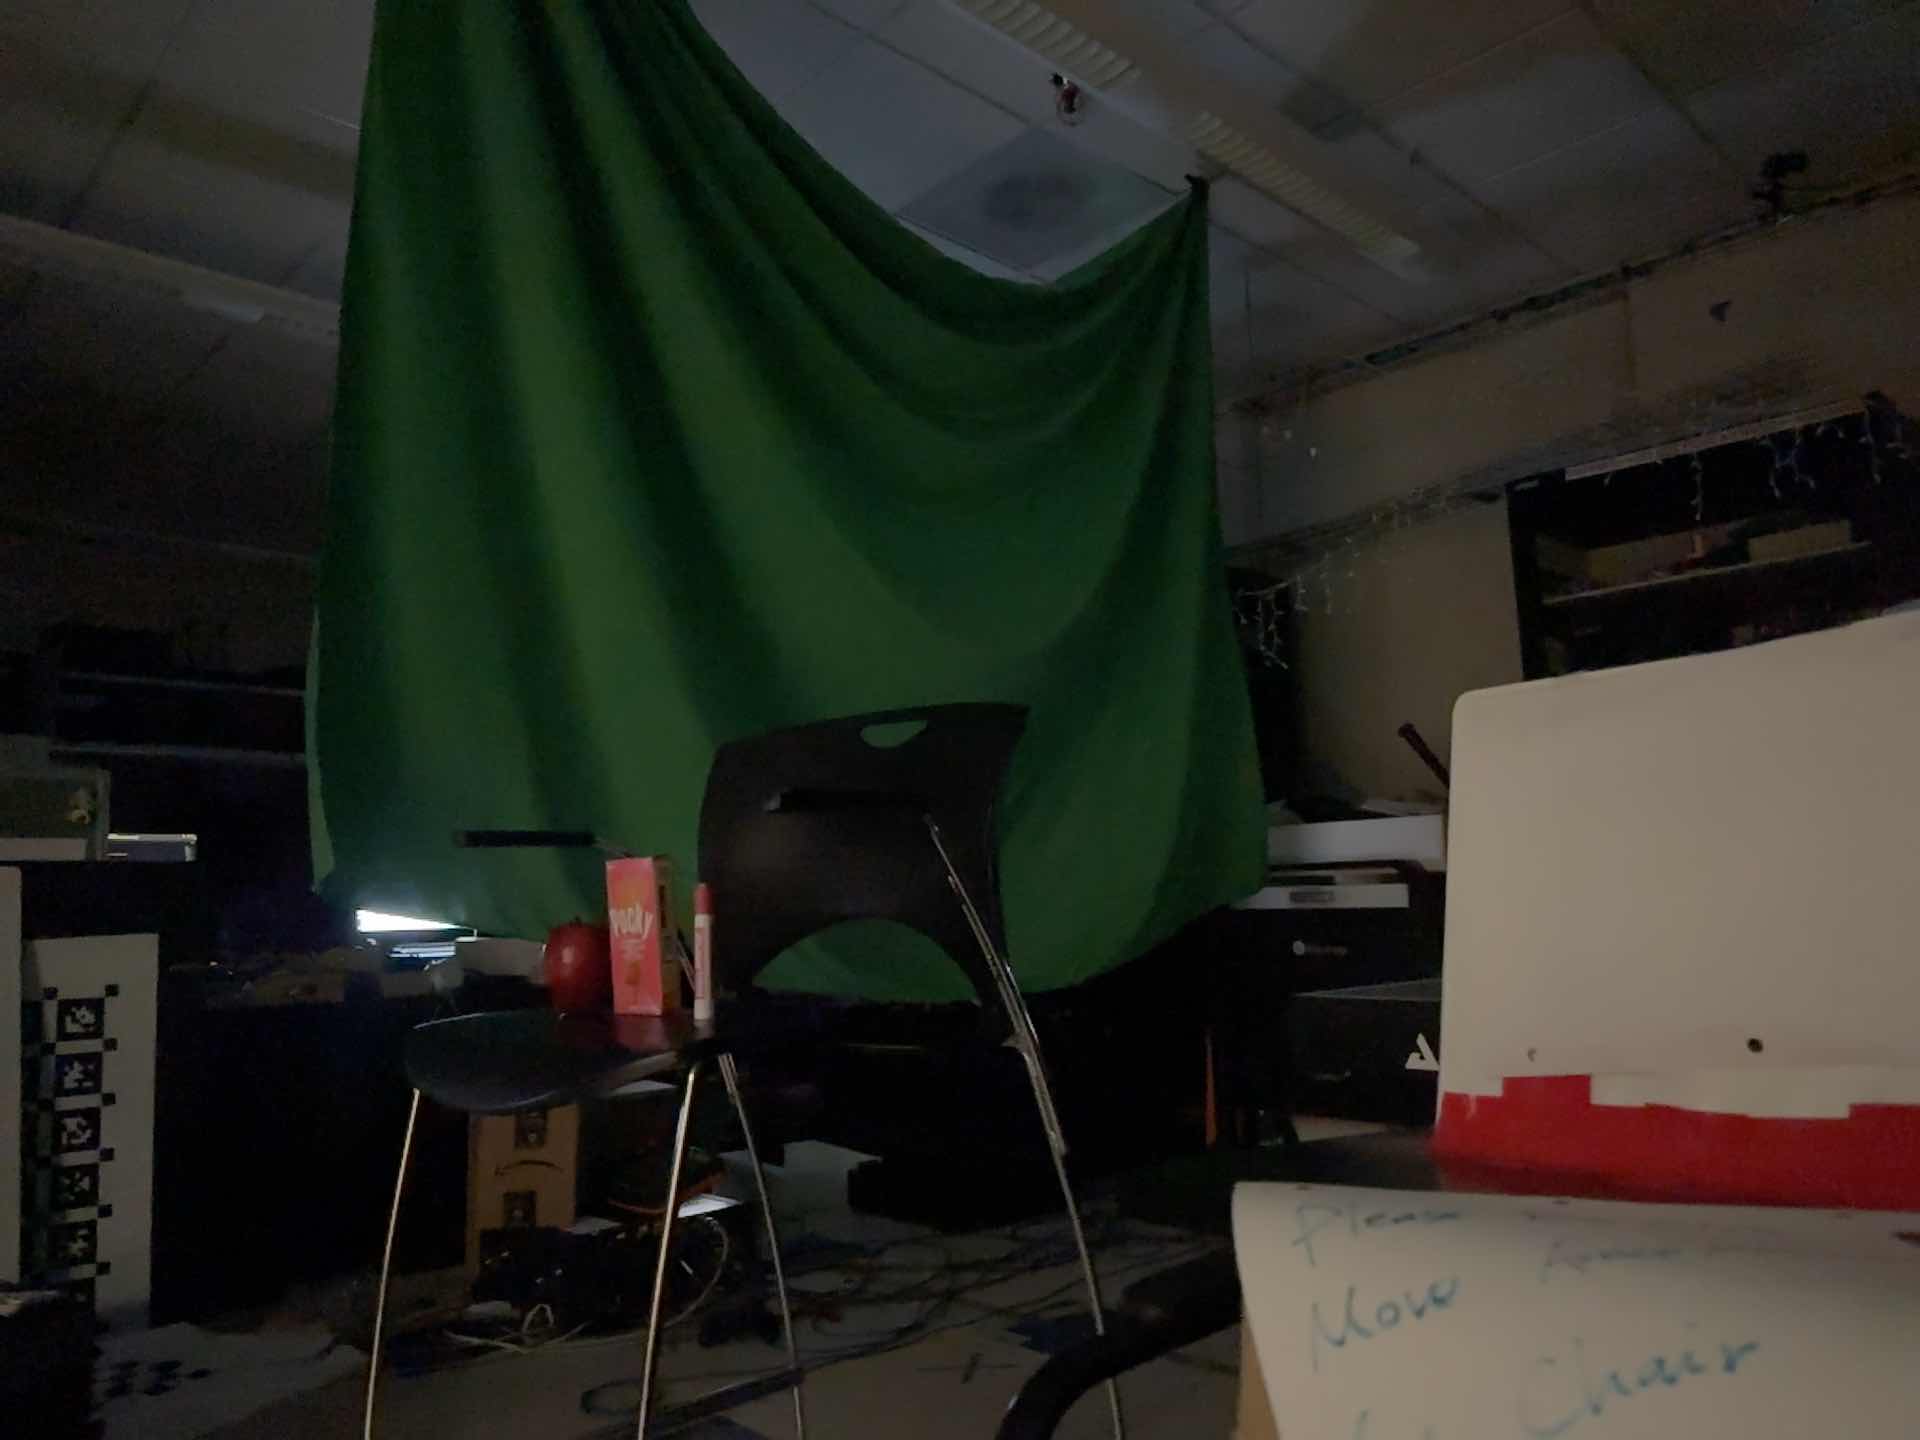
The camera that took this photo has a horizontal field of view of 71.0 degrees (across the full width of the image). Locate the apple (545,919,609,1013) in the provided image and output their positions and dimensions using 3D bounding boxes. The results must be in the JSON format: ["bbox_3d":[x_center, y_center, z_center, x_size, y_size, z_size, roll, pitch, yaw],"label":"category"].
[{"bbox_3d":[-0.382,0.250,1.373,0.079,0.093,0.079,2,-8,0],"label":"apple"}]

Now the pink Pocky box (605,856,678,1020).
[{"bbox_3d":[-0.312,0.211,1.315,0.084,0.155,0.029,-6,-5,44],"label":"pink Pocky box"}]

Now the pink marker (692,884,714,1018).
[{"bbox_3d":[-0.237,0.212,1.241,0.020,0.121,0.020,-1,-5,0],"label":"pink marker"}]
